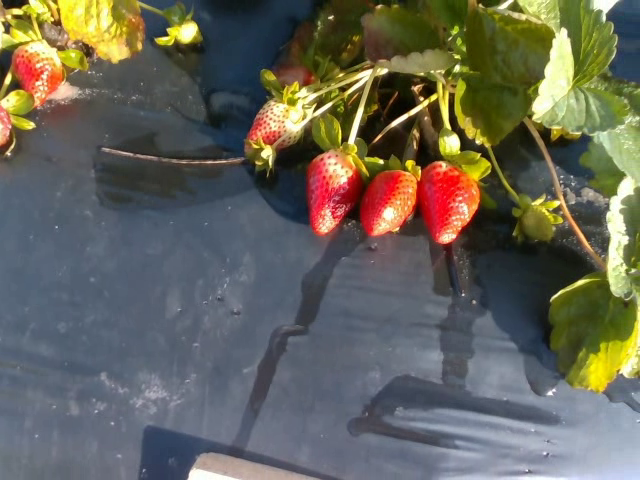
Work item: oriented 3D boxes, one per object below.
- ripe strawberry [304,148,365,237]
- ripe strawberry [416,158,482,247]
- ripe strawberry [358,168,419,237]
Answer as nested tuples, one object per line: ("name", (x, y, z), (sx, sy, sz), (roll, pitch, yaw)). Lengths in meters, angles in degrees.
("ripe strawberry", (0.004, -0.024, 0.287), (0.031, 0.046, 0.023), (13, -7, 6))
("ripe strawberry", (0.060, -0.012, 0.278), (0.035, 0.041, 0.034), (9, -43, 7))
("ripe strawberry", (0.032, -0.018, 0.277), (0.030, 0.037, 0.039), (23, 35, 5))
